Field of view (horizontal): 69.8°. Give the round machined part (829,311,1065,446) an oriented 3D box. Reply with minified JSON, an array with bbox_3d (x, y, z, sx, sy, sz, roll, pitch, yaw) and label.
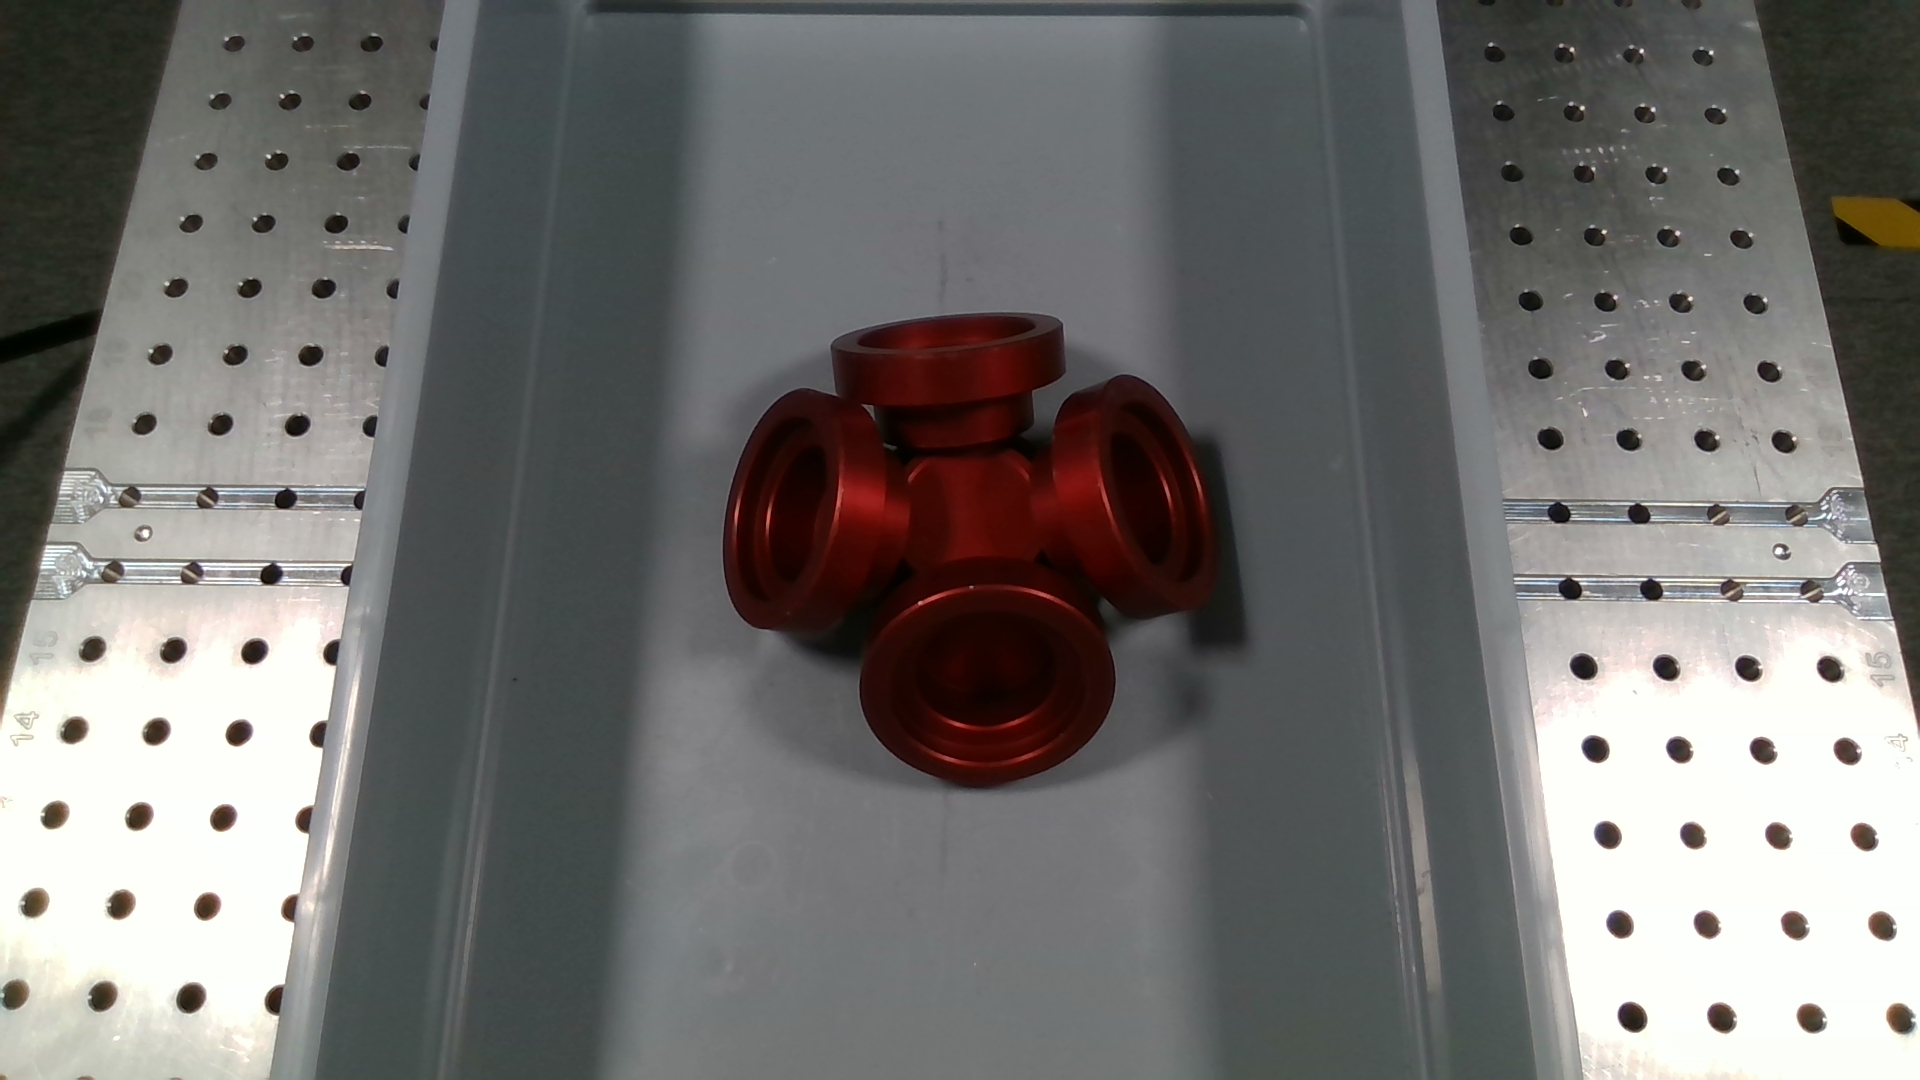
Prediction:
[{"bbox_3d":[-0.004,-0.068,0.583,0.098,0.098,0.042,-6,107,-2],"label":"round machined part"}]

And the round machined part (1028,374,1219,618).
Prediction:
[{"bbox_3d":[0.064,-0.015,0.563,0.042,0.098,0.098,-18,66,34],"label":"round machined part"}]

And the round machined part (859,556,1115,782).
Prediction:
[{"bbox_3d":[0.010,0.046,0.543,0.098,0.098,0.042,-3,34,-1],"label":"round machined part"}]

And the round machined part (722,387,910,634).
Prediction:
[{"bbox_3d":[-0.056,-0.010,0.561,0.042,0.098,0.098,13,66,-34],"label":"round machined part"}]

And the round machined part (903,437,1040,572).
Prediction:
[{"bbox_3d":[0.004,-0.005,0.579,0.098,0.042,0.098,0,70,0],"label":"round machined part"}]
